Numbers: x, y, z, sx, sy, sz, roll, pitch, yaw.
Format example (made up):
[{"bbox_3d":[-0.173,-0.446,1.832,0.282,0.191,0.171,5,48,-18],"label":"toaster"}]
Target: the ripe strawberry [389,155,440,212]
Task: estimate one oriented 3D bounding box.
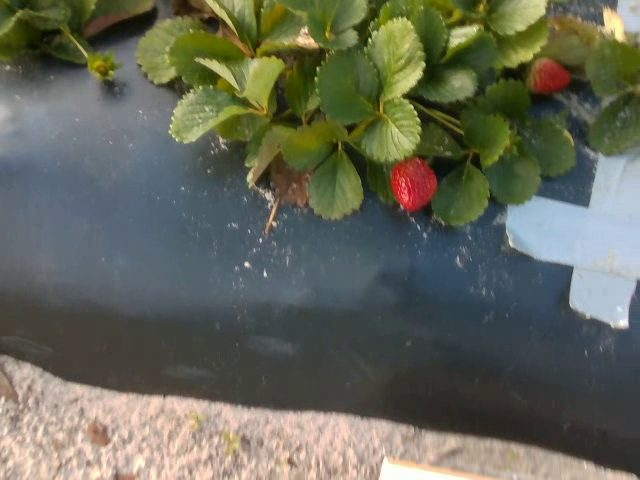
[{"bbox_3d":[0.033,-0.018,0.238,0.018,0.023,0.021,4,-28,15],"label":"ripe strawberry"}]
